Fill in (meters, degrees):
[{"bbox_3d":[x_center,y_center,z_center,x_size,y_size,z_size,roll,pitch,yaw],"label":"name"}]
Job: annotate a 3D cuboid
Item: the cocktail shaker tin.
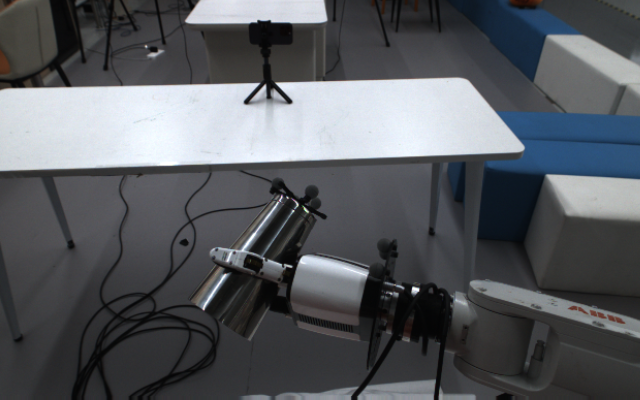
[{"bbox_3d":[-0.078,0.074,0.612,0.093,0.093,0.170,24,69,28],"label":"cocktail shaker tin"}]
